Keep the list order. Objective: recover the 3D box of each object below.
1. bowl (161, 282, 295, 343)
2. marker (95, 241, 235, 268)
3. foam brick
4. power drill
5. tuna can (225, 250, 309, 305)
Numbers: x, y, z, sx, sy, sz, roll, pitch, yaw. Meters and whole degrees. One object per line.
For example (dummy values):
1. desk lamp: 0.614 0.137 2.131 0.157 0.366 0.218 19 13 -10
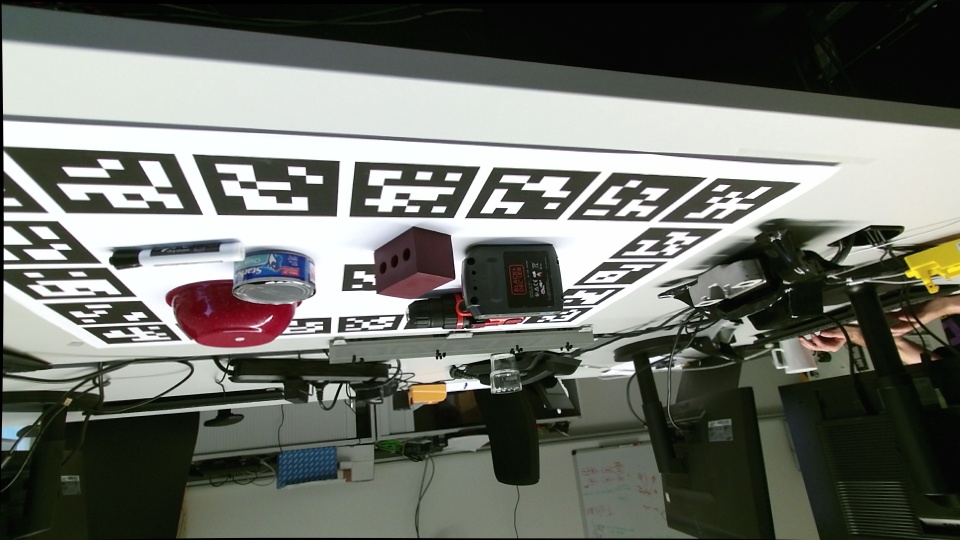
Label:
1. bowl: -0.310 0.059 0.680 0.162 0.055 0.162 -8 167 -2
2. marker: -0.299 -0.015 0.510 0.121 0.019 0.020 -4 158 -7
3. foam brick: -0.074 -0.014 0.564 0.051 0.052 0.078 12 151 -38
4. power drill: 0.009 0.031 0.695 0.185 0.057 0.187 2 160 -14
5. tuna can: -0.229 0.009 0.579 0.086 0.033 0.086 -4 159 -2
